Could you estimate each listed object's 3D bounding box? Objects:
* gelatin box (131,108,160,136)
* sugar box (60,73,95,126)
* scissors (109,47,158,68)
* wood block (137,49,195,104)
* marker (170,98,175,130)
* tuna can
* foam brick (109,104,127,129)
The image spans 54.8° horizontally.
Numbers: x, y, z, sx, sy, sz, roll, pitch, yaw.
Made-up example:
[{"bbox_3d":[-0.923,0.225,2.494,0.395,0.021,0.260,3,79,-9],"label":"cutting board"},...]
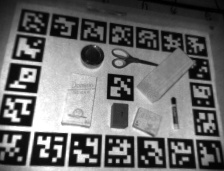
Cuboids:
[{"bbox_3d":[0.121,0.133,0.781,0.089,0.030,0.073,24,70,-3],"label":"gelatin box"},{"bbox_3d":[-0.116,0.049,0.751,0.093,0.045,0.176,11,71,-9],"label":"sugar box"},{"bbox_3d":[0.087,-0.095,0.854,0.203,0.016,0.087,13,71,-6],"label":"scissors"},{"bbox_3d":[0.205,-0.034,0.824,0.207,0.091,0.089,-40,83,-21],"label":"wood block"},{"bbox_3d":[0.230,0.107,0.816,0.020,0.019,0.121,8,73,-9],"label":"marker"},{"bbox_3d":[-0.082,-0.108,0.810,0.086,0.033,0.085,4,72,-11],"label":"tuna can"},{"bbox_3d":[0.022,0.109,0.752,0.053,0.051,0.078,8,72,-8],"label":"foam brick"}]
